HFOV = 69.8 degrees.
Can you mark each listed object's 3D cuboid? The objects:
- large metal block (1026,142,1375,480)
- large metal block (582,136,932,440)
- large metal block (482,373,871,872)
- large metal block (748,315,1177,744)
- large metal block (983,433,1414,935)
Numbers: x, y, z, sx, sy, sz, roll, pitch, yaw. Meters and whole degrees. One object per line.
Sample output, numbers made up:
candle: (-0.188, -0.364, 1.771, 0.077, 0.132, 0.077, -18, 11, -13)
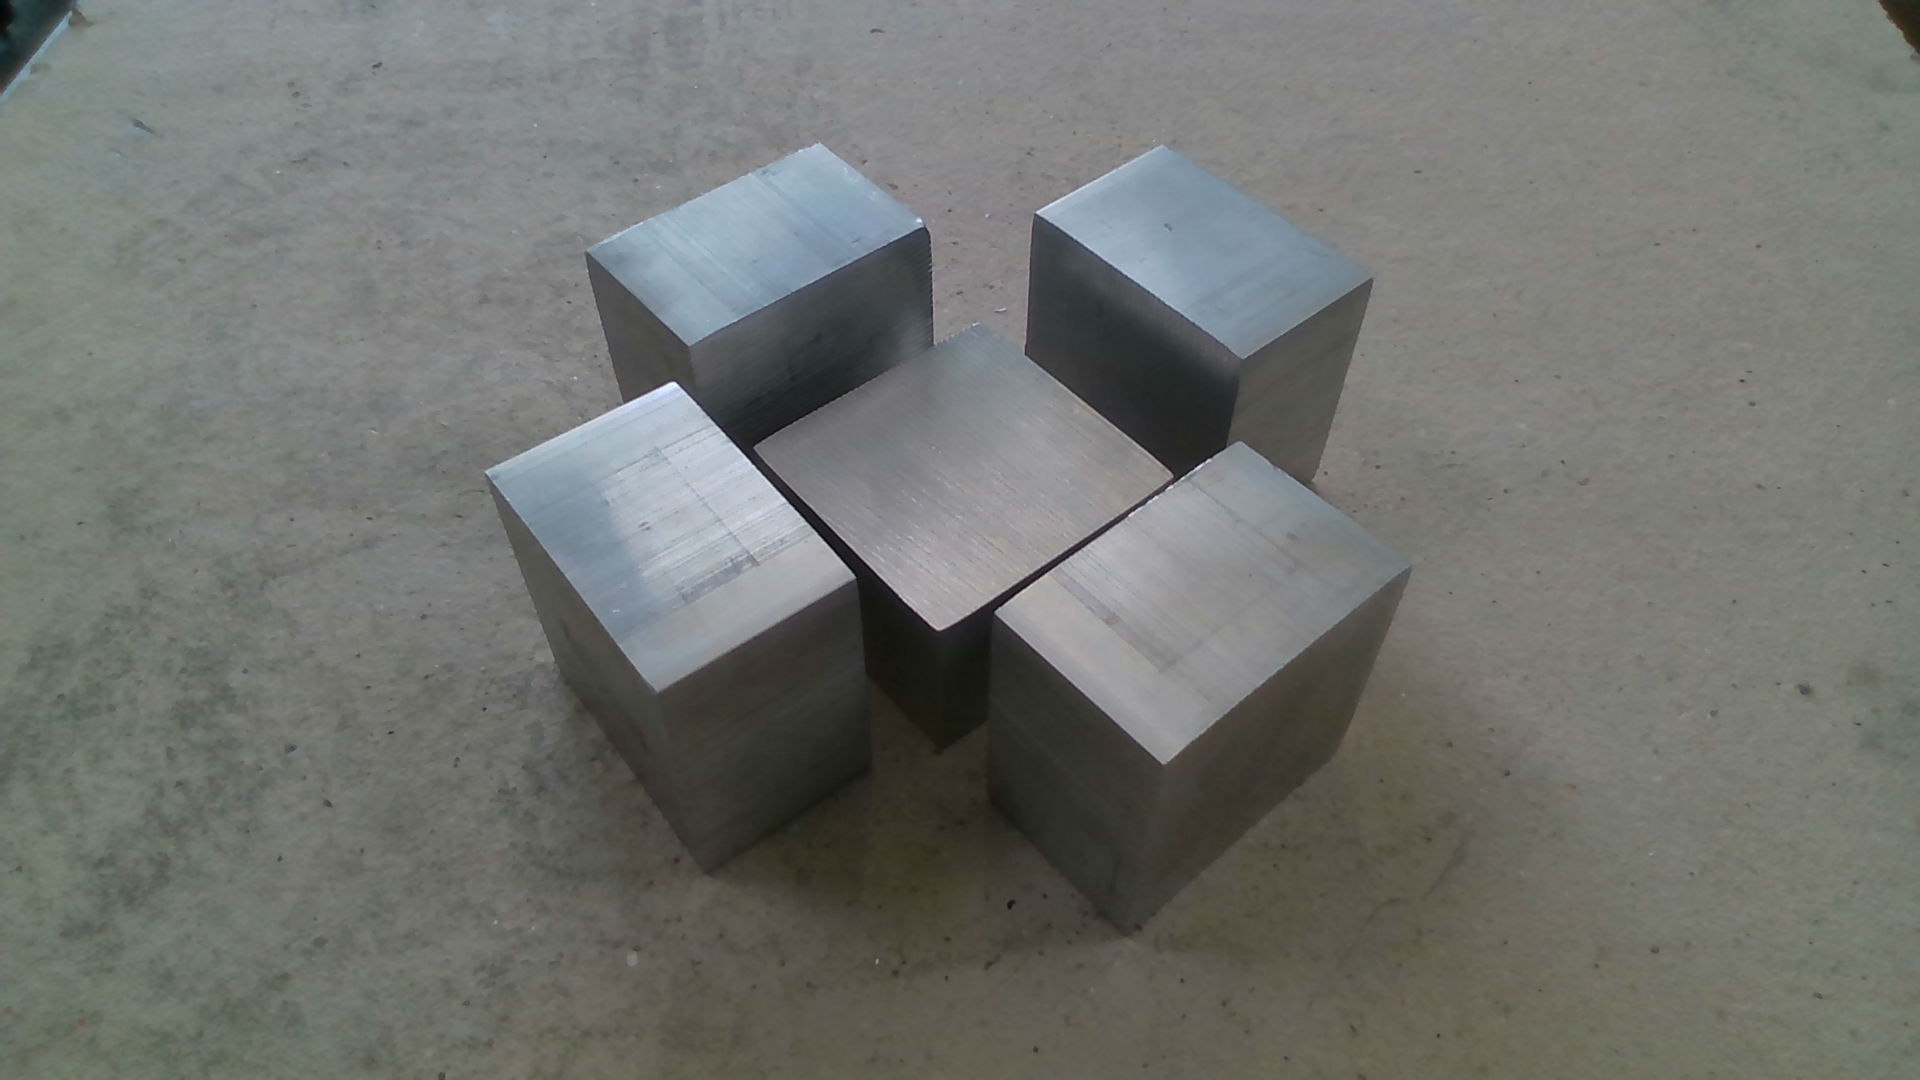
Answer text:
large metal block: (0.065, -0.055, 0.405, 0.050, 0.080, 0.080, -32, 57, -24)
large metal block: (-0.055, -0.058, 0.406, 0.080, 0.080, 0.050, -33, 57, -24)
large metal block: (-0.067, 0.020, 0.340, 0.050, 0.080, 0.080, -30, 57, -24)
large metal block: (0.000, -0.006, 0.379, 0.080, 0.050, 0.080, -32, 57, -24)
large metal block: (0.053, 0.035, 0.329, 0.080, 0.080, 0.050, -34, 58, -25)
